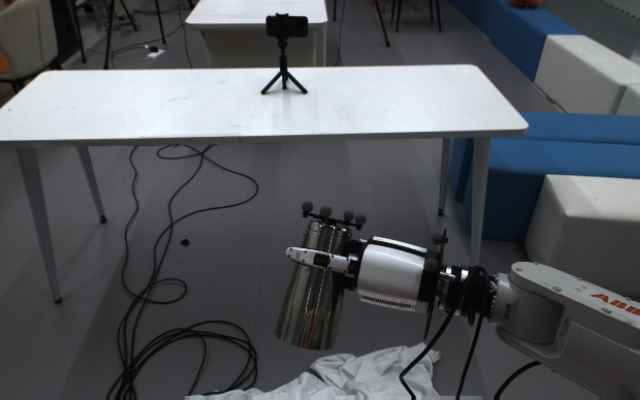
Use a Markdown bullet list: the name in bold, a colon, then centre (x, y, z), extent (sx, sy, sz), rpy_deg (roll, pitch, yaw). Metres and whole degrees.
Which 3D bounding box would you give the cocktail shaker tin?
- **cocktail shaker tin**: centre (0.000, 0.118, 0.708), extent (0.093, 0.170, 0.093), rpy_deg (13, 1, 0)
